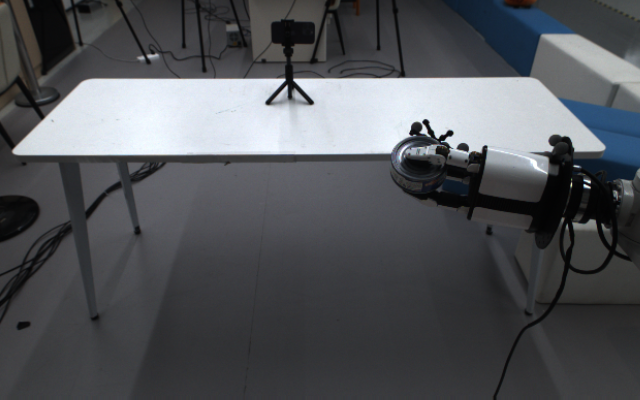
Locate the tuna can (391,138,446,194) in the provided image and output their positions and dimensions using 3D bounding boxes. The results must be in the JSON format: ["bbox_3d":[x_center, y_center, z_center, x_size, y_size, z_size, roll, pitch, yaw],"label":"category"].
[{"bbox_3d":[0.152,-0.048,0.718,0.085,0.034,0.085,-4,58,6],"label":"tuna can"}]
